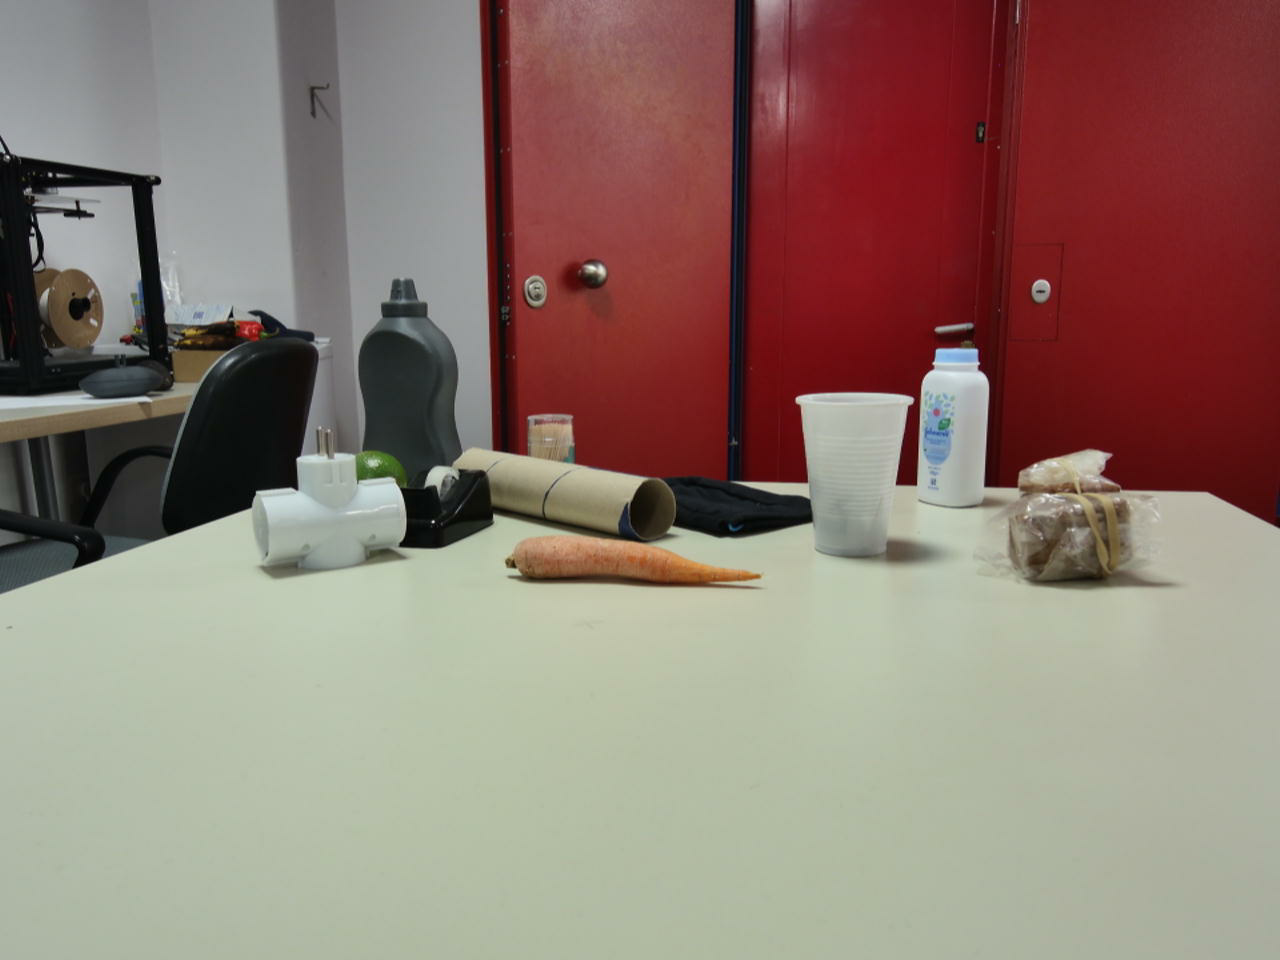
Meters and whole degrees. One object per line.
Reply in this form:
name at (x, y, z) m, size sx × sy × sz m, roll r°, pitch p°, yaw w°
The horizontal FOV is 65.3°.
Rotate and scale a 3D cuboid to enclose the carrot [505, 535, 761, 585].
carrot at (-0.007, 0.050, 0.625) m, size 0.163 × 0.029 × 0.031 m, roll 2°, pitch 8°, yaw 11°
